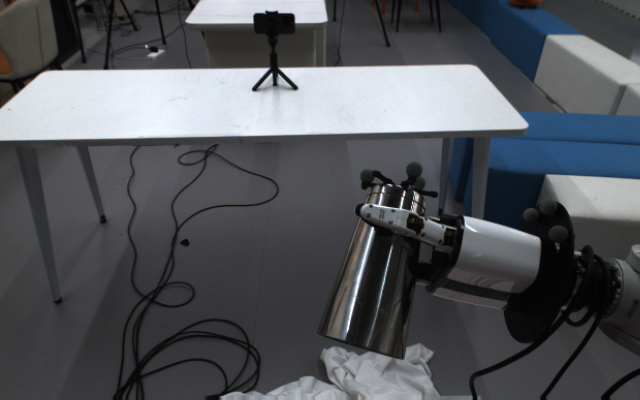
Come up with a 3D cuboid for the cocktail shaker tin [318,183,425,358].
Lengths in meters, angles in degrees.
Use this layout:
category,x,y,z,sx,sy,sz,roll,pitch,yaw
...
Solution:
category,x,y,z,sx,sy,sz,roll,pitch,yaw
cocktail shaker tin,0.066,0.071,0.523,0.093,0.093,0.170,12,72,14
